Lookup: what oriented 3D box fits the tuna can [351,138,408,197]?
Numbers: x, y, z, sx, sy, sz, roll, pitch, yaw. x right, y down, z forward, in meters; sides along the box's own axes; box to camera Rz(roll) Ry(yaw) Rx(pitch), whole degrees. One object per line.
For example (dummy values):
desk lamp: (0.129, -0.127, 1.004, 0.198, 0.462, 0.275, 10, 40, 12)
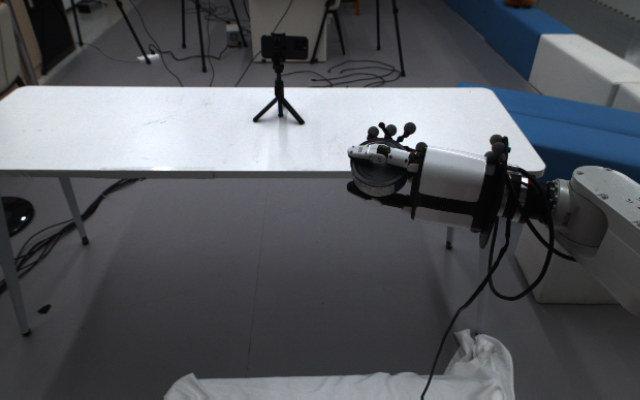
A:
tuna can: (0.089, -0.049, 0.714, 0.085, 0.034, 0.085, -4, 56, 6)
